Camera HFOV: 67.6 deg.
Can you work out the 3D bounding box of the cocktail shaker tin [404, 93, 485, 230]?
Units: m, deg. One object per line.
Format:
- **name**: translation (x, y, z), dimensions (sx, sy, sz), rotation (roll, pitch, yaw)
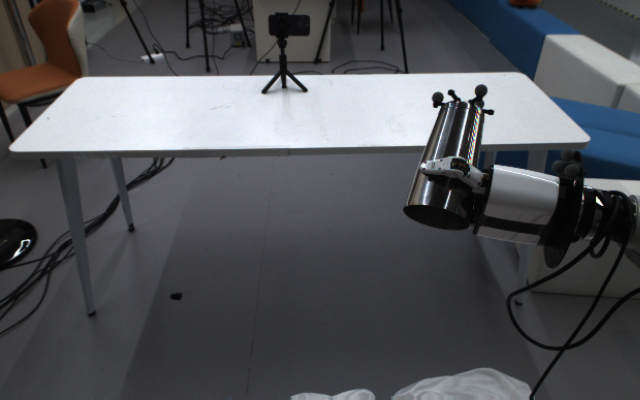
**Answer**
- **cocktail shaker tin**: translation (0.184, -0.052, 0.692), dimensions (0.093, 0.093, 0.170), rotation (14, 73, 16)
